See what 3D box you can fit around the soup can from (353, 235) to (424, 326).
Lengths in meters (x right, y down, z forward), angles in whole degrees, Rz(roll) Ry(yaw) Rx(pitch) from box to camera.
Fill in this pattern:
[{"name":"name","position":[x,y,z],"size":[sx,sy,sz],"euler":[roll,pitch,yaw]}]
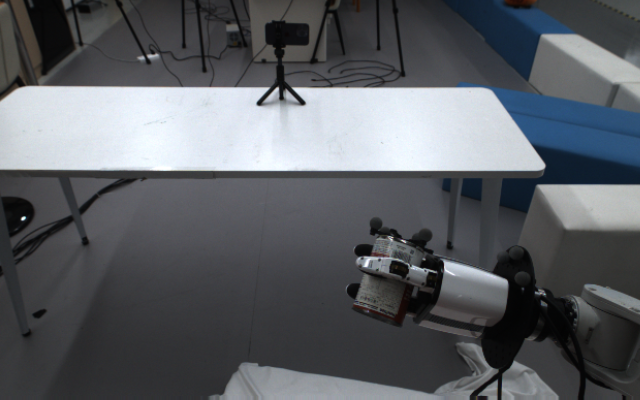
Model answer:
[{"name":"soup can","position":[0.090,0.104,0.627],"size":[0.067,0.067,0.101],"euler":[15,75,18]}]
